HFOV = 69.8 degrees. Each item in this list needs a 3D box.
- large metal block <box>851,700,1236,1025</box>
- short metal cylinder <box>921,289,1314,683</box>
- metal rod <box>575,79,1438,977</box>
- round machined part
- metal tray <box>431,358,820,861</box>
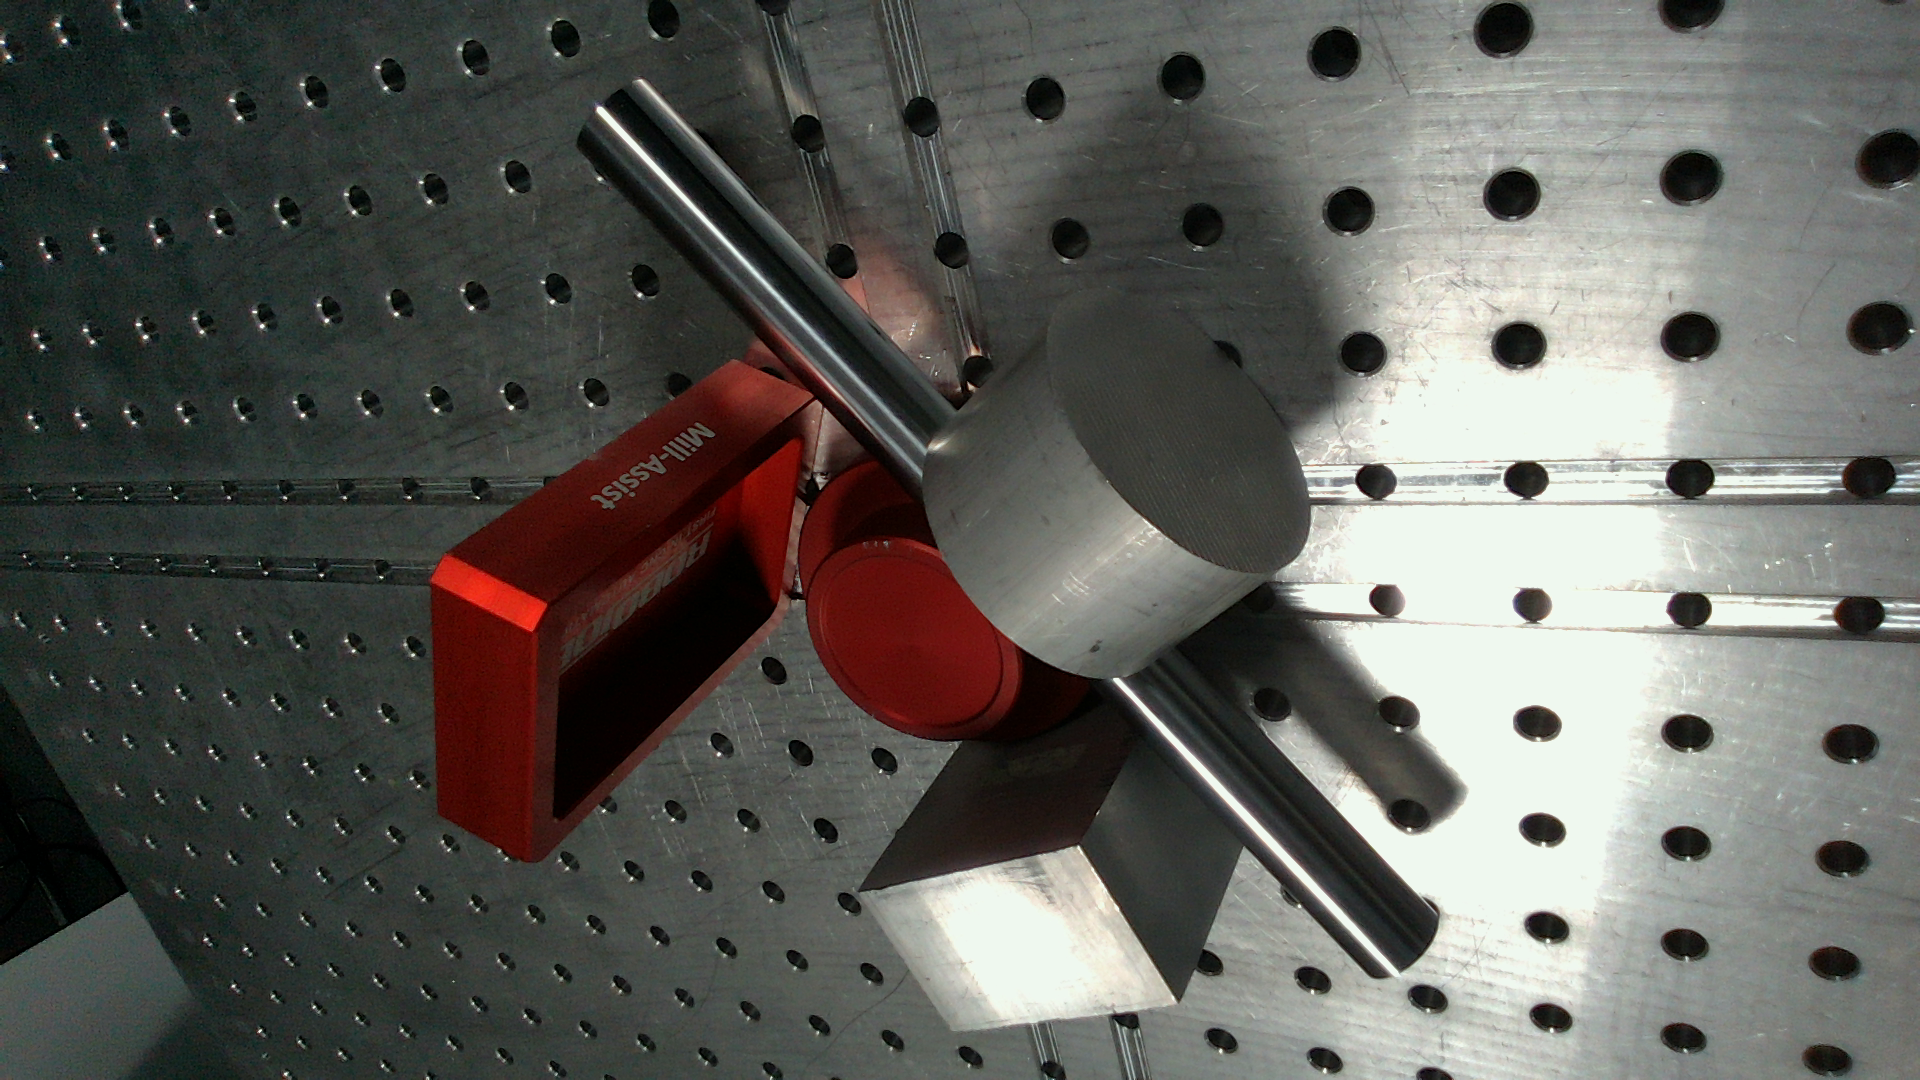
[{"bbox_3d":[0.029,0.089,0.400,0.080,0.080,0.050,-21,107,36],"label":"large metal block"},{"bbox_3d":[0.038,-0.013,0.331,0.080,0.080,0.050,45,129,-3],"label":"short metal cylinder"},{"bbox_3d":[0.015,0.000,0.360,0.300,0.025,0.025,46,129,-4],"label":"metal rod"},{"bbox_3d":[-0.006,0.020,0.400,0.098,0.042,0.098,13,124,21],"label":"round machined part"},{"bbox_3d":[-0.089,0.015,0.386,0.030,0.130,0.090,24,127,14],"label":"metal tray"}]
